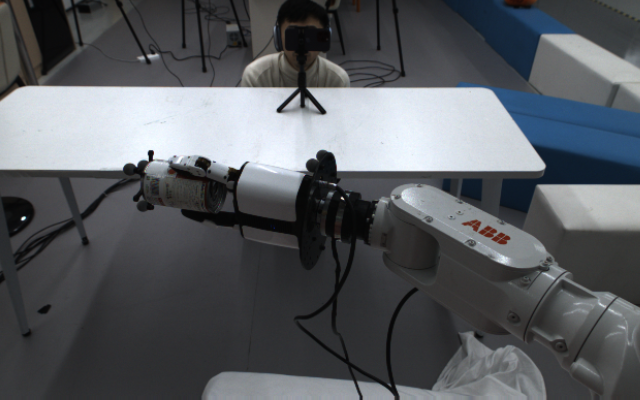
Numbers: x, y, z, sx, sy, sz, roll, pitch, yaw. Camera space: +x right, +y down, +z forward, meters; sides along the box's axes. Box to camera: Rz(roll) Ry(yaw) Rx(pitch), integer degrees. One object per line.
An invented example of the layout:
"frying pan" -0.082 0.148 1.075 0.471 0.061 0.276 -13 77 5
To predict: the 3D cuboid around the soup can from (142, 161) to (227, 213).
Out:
"soup can" -0.191 -0.019 0.690 0.101 0.067 0.067 8 35 10
